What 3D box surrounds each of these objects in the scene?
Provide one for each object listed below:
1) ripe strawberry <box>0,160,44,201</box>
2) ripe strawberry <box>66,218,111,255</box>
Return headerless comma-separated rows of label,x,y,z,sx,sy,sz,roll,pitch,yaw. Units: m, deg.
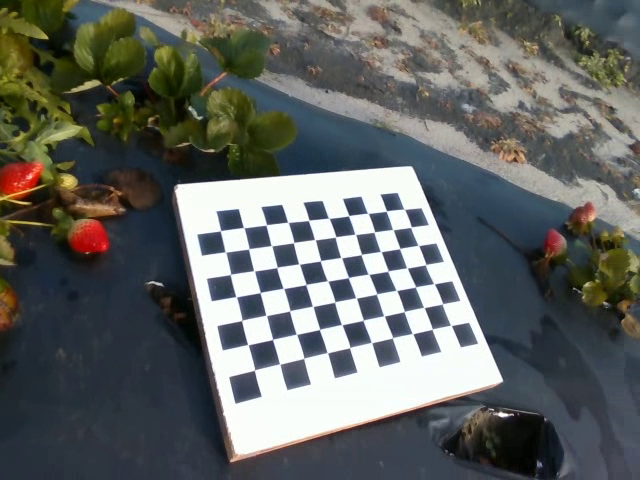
ripe strawberry,-0.279,-0.061,0.555,0.049,0.039,0.032,-36,-19,10
ripe strawberry,-0.210,-0.003,0.547,0.043,0.035,0.029,36,-36,9
